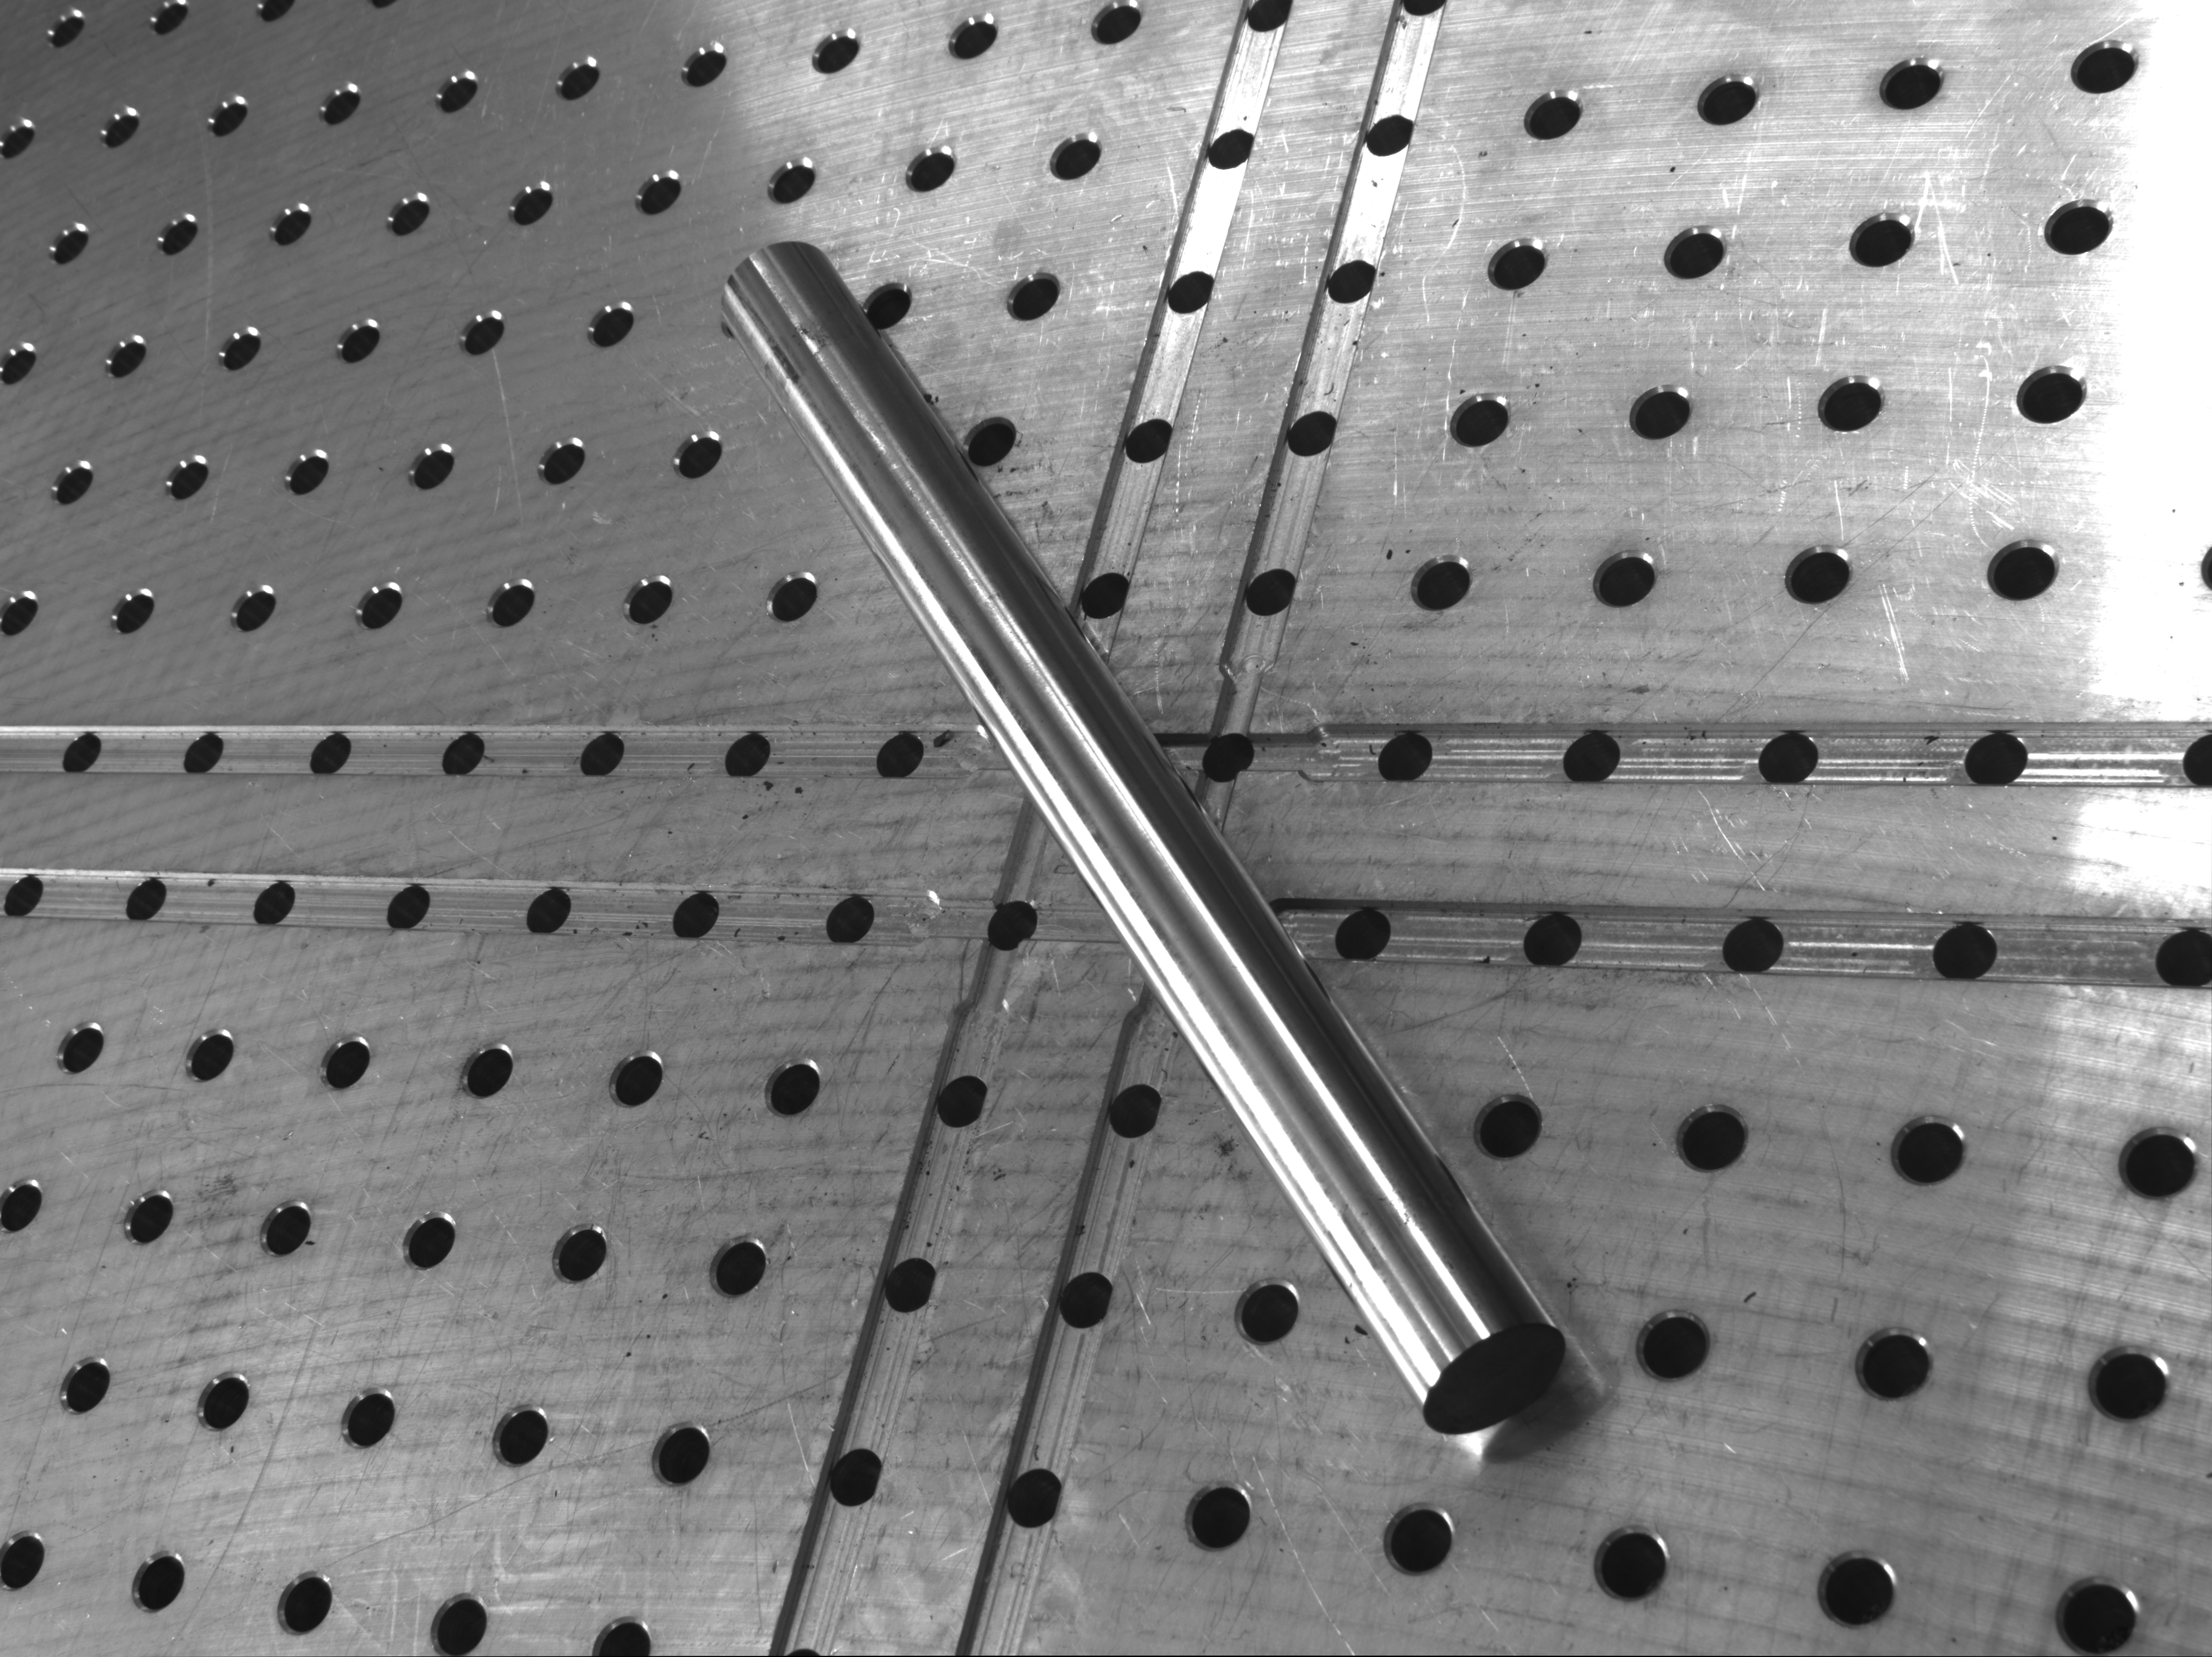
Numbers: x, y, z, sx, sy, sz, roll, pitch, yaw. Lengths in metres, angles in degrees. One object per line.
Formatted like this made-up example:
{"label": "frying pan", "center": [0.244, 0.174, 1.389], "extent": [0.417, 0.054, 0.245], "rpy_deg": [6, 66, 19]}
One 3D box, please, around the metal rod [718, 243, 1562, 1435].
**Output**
{"label": "metal rod", "center": [-0.004, -0.012, 0.659], "extent": [0.025, 0.025, 0.299], "rpy_deg": [-36, 51, 4]}
